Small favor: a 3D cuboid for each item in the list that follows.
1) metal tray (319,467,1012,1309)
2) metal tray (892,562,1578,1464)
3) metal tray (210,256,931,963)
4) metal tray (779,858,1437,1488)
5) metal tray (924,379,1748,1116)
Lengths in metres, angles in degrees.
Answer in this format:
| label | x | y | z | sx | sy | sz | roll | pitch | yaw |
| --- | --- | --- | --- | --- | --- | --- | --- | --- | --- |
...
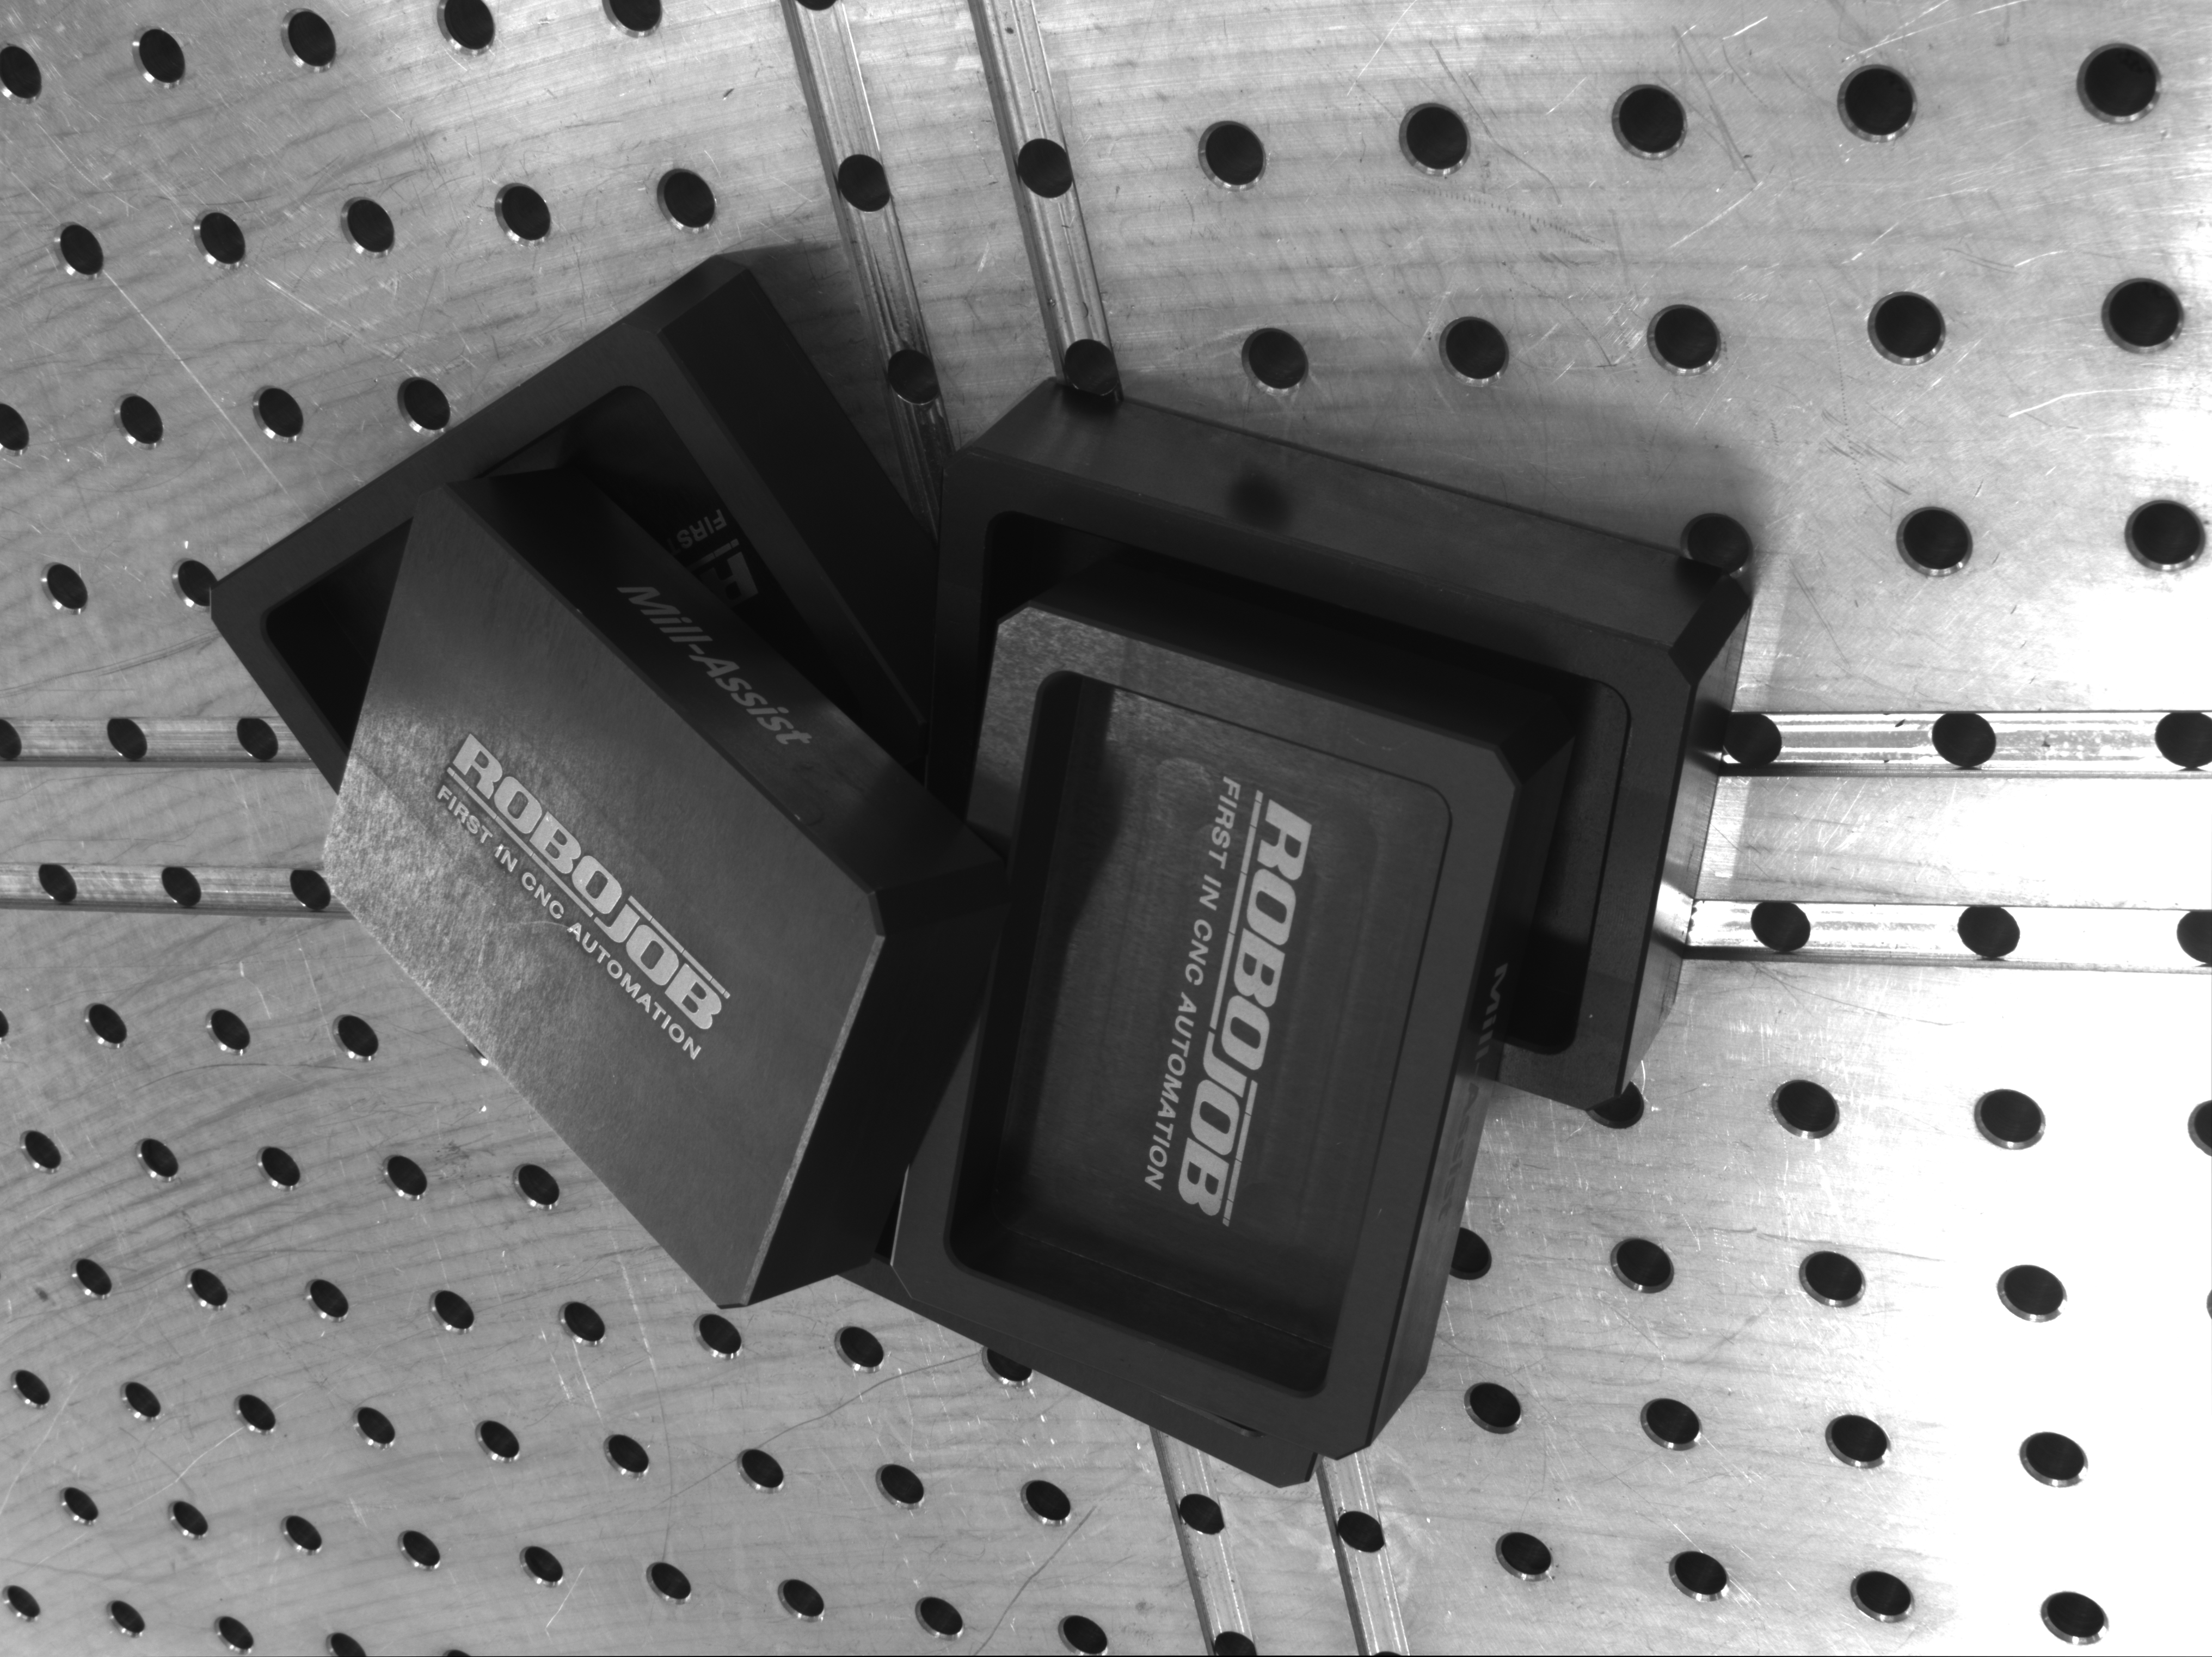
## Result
| label | x | y | z | sx | sy | sz | roll | pitch | yaw |
| --- | --- | --- | --- | --- | --- | --- | --- | --- | --- |
| metal tray | -0.081 | 0.009 | 0.639 | 0.130 | 0.030 | 0.090 | 41 | 125 | 29 |
| metal tray | 0.019 | 0.031 | 0.611 | 0.090 | 0.030 | 0.130 | 18 | 114 | 18 |
| metal tray | -0.094 | -0.036 | 0.671 | 0.130 | 0.030 | 0.090 | -25 | 105 | 37 |
| metal tray | -0.007 | 0.057 | 0.682 | 0.130 | 0.030 | 0.090 | 24 | 127 | 14 |
| metal tray | 0.034 | -0.014 | 0.615 | 0.130 | 0.030 | 0.090 | 18 | 125 | 19 |
